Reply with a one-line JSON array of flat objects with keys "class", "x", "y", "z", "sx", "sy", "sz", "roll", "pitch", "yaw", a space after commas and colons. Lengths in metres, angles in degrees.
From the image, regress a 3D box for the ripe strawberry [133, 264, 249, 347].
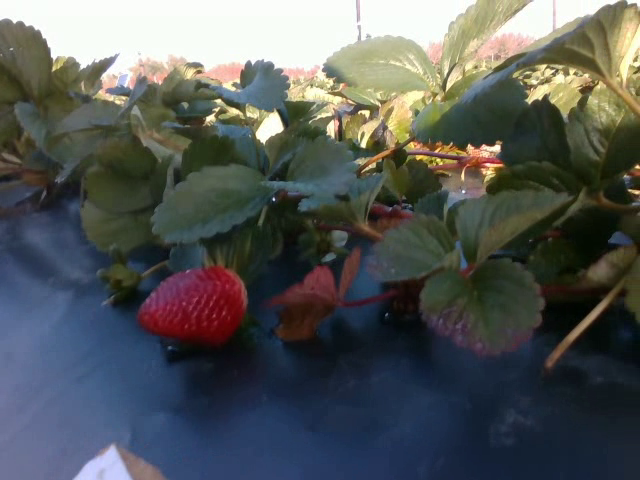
[{"class": "ripe strawberry", "x": -0.052, "y": 0.025, "z": 0.237, "sx": 0.040, "sy": 0.041, "sz": 0.056, "roll": -31, "pitch": -10, "yaw": 22}]
